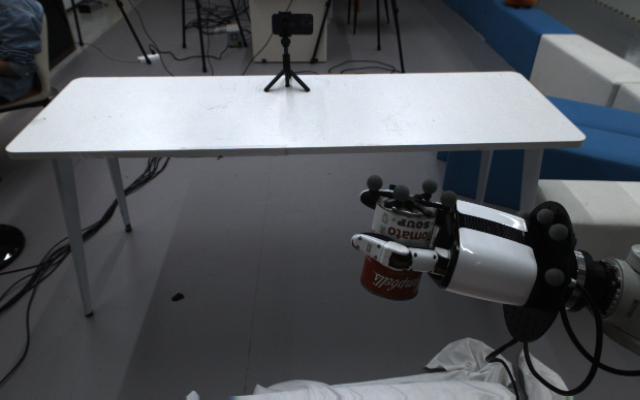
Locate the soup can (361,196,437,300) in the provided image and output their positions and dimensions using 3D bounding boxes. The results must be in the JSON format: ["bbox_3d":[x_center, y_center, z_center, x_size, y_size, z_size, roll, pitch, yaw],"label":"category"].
[{"bbox_3d":[0.089,0.051,0.543,0.067,0.101,0.067,9,19,-3],"label":"soup can"}]
